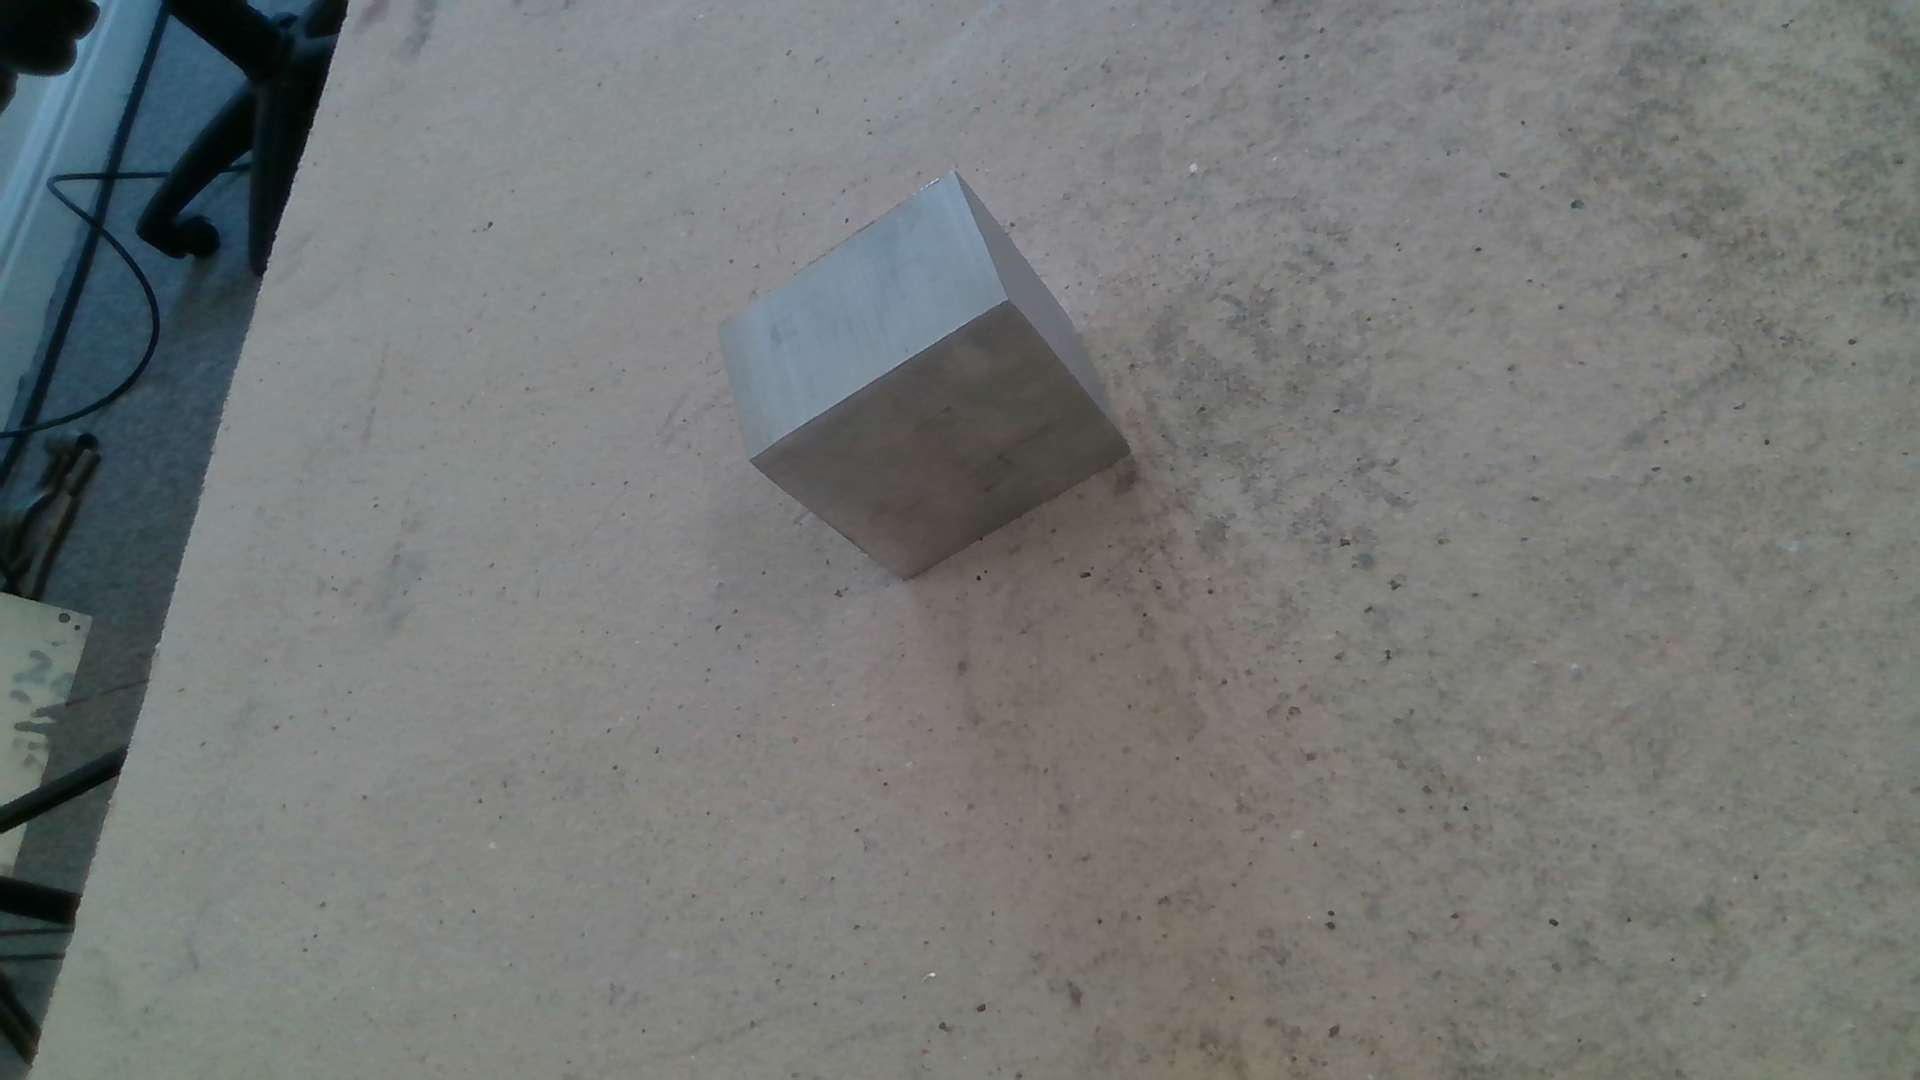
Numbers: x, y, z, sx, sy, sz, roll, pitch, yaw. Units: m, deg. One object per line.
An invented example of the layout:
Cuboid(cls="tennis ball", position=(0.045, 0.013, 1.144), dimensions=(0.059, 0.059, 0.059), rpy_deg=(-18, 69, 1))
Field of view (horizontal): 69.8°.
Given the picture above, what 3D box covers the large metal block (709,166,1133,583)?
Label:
Cuboid(cls="large metal block", position=(-0.010, -0.042, 0.385), dimensions=(0.080, 0.080, 0.050), rpy_deg=(-30, 53, 15))
